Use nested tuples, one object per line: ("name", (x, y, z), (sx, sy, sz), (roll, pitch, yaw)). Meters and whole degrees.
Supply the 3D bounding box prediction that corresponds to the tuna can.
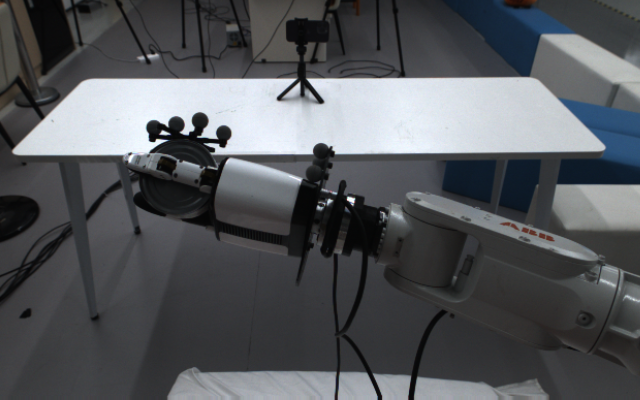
("tuna can", (-0.153, -0.022, 0.542), (0.085, 0.034, 0.085), (0, 77, -1))
